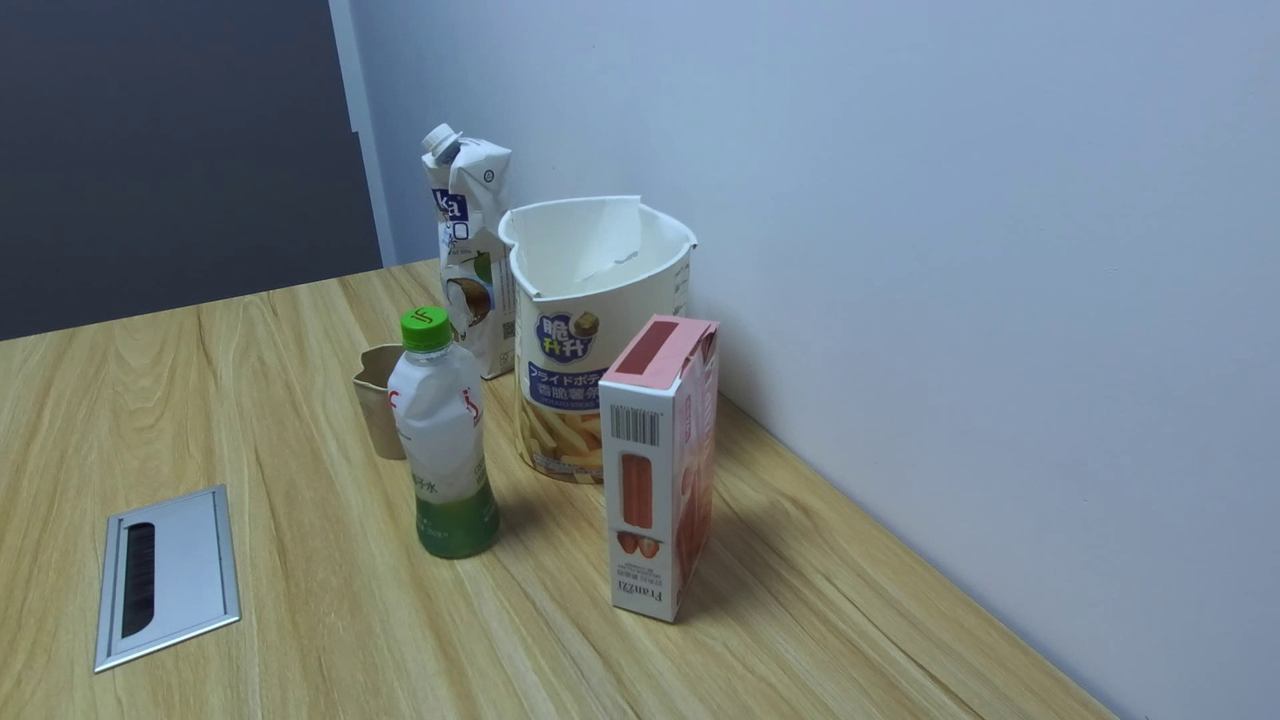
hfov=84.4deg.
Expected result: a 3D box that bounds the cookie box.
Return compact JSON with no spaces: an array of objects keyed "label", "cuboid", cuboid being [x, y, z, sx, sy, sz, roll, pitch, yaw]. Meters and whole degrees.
[{"label":"cookie box","cuboid":[0.017,0.069,0.474,0.048,0.188,0.105,10,32,17]}]

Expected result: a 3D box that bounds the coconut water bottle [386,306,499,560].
[{"label":"coconut water bottle","cuboid":[-0.140,0.052,0.502,0.069,0.186,0.069,0,32,0]}]

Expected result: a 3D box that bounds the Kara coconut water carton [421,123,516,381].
[{"label":"Kara coconut water carton","cuboid":[-0.163,-0.108,0.707,0.079,0.256,0.083,-20,37,-28]}]

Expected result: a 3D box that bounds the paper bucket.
[{"label":"paper bucket","cuboid":[-0.039,-0.020,0.613,0.146,0.197,0.202,-10,33,-17]}]
